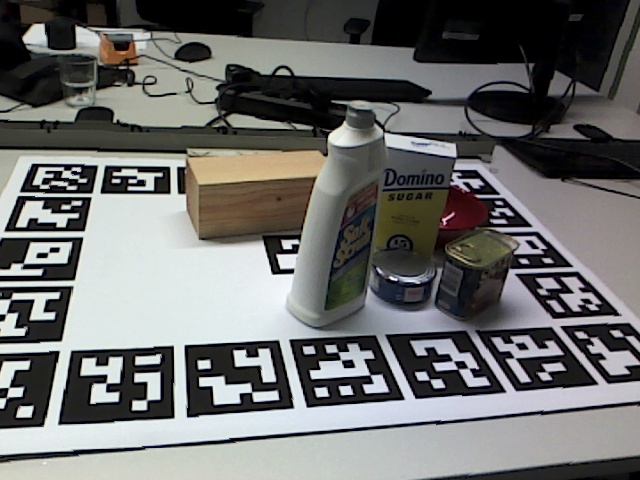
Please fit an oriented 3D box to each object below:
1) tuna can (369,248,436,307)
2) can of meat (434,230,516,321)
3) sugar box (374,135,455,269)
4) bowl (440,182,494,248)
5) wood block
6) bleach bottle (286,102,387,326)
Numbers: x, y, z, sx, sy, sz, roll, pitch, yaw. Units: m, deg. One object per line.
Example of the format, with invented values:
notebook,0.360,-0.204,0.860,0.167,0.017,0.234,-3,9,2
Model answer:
tuna can,0.103,0.047,0.792,0.085,0.033,0.086,5,33,-3
can of meat,0.193,0.044,0.780,0.101,0.083,0.058,-19,35,-39
sugar box,0.120,-0.045,0.813,0.093,0.176,0.045,7,32,8
bowl,0.174,-0.034,0.931,0.161,0.055,0.162,2,31,-1
wood block,-0.085,-0.067,0.907,0.205,0.090,0.091,-5,36,-21
bleach bottle,0.021,-0.029,0.699,0.102,0.250,0.068,-17,36,-34
